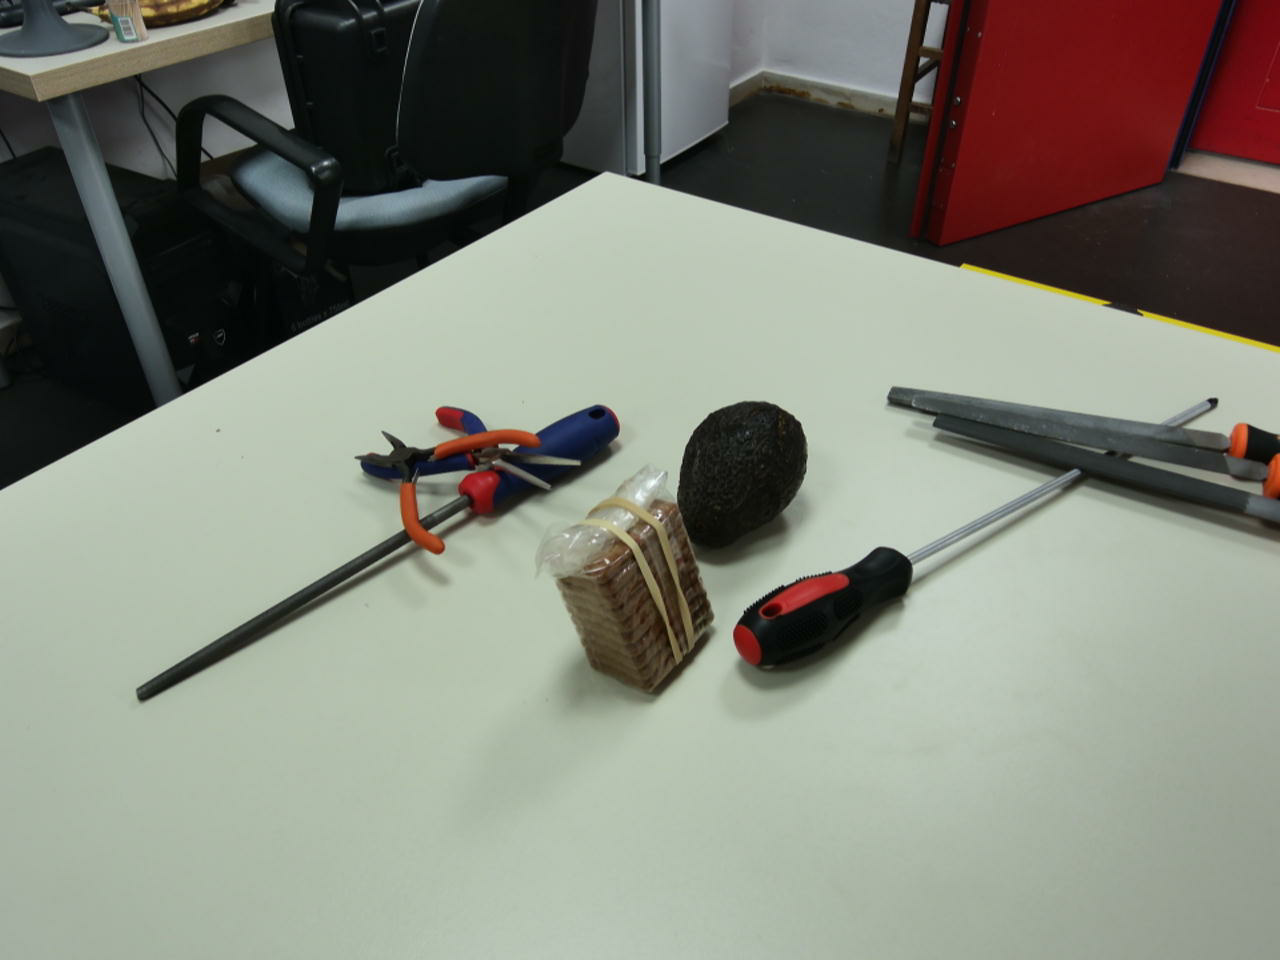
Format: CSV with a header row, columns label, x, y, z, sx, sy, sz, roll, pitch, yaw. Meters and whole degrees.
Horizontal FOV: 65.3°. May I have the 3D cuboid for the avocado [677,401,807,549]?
label,x,y,z,sx,sy,sz,roll,pitch,yaw
avocado,0.056,-0.008,0.581,0.090,0.069,0.070,-18,41,-21
